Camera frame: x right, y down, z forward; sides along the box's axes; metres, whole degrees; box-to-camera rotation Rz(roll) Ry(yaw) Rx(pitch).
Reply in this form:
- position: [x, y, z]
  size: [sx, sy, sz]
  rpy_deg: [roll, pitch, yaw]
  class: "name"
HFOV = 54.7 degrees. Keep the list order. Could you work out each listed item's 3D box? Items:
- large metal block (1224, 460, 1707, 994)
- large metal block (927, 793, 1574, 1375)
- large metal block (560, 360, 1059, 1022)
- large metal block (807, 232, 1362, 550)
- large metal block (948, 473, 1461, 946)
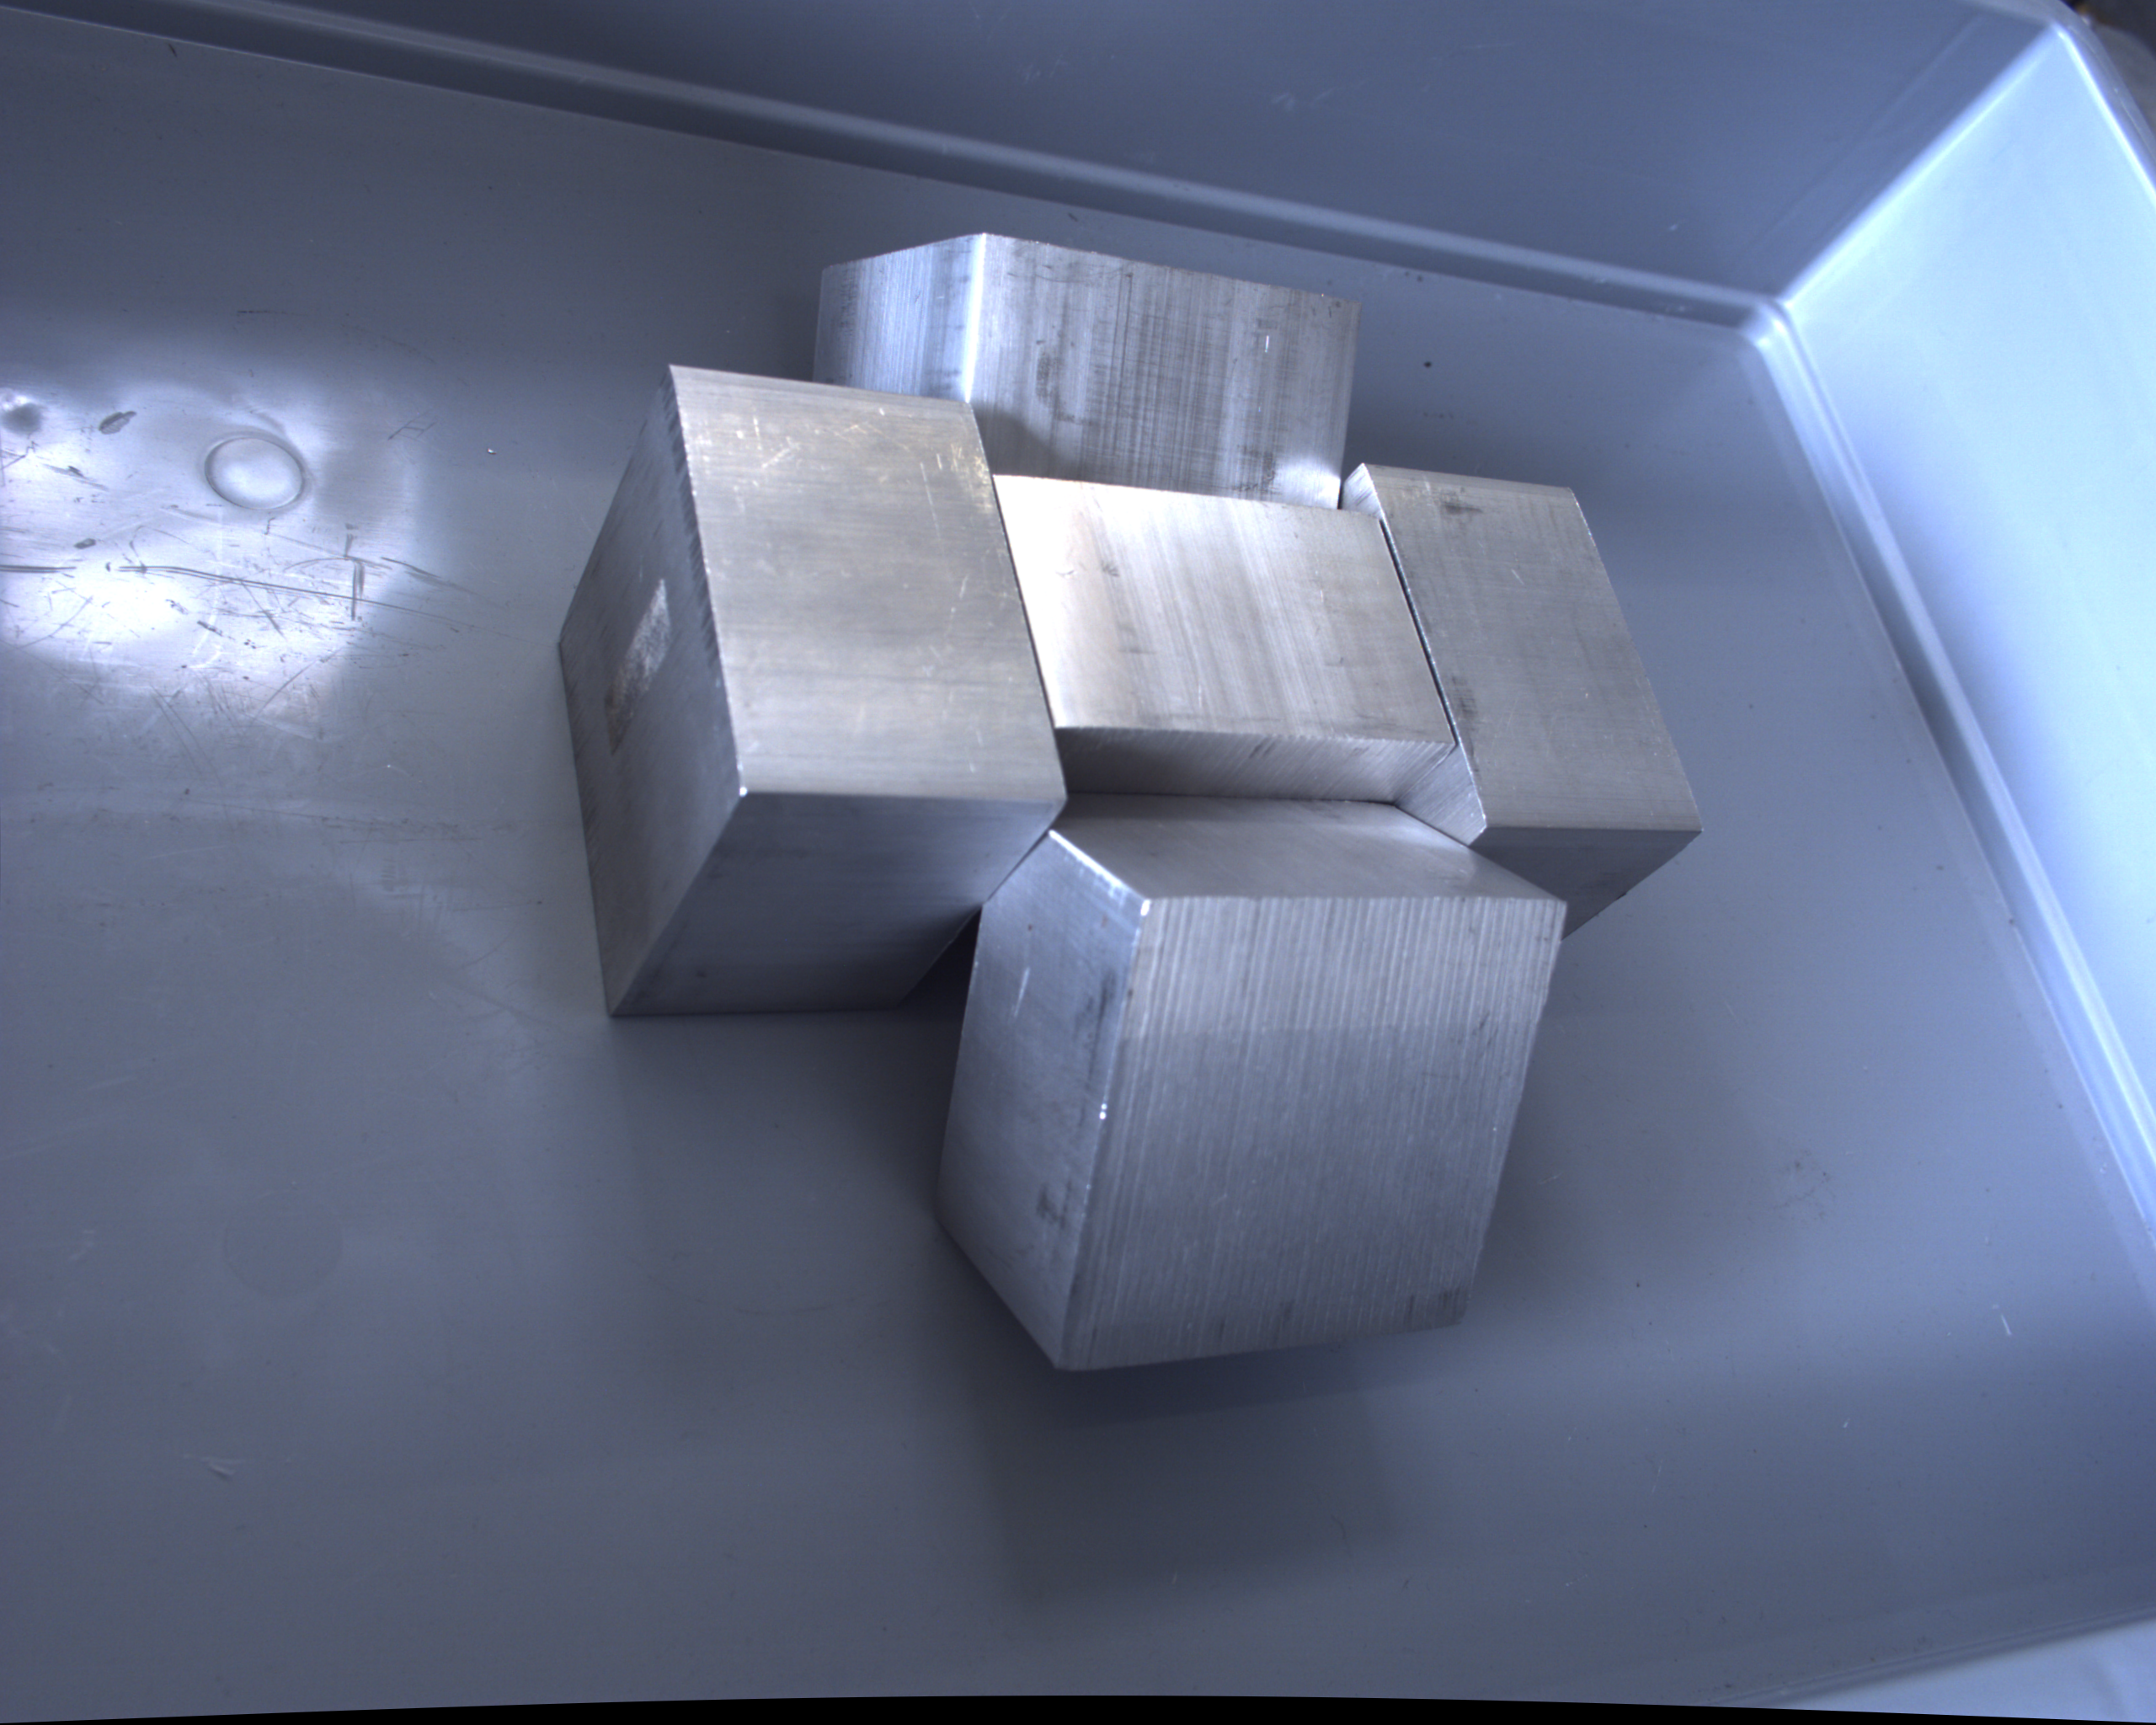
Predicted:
- position: [0.068, -0.022, 0.419]
  size: [0.050, 0.080, 0.080]
  rpy_deg: [1, 62, -28]
  class: "large metal block"
- position: [0.027, 0.035, 0.353]
  size: [0.081, 0.079, 0.050]
  rpy_deg: [1, 19, -29]
  class: "large metal block"
- position: [-0.050, -0.026, 0.357]
  size: [0.050, 0.080, 0.080]
  rpy_deg: [1, 62, -28]
  class: "large metal block"
- position: [-0.003, -0.089, 0.414]
  size: [0.081, 0.080, 0.050]
  rpy_deg: [2, 99, -28]
  class: "large metal block"
- position: [0.010, -0.024, 0.389]
  size: [0.081, 0.080, 0.050]
  rpy_deg: [1, 62, -28]
  class: "large metal block"
